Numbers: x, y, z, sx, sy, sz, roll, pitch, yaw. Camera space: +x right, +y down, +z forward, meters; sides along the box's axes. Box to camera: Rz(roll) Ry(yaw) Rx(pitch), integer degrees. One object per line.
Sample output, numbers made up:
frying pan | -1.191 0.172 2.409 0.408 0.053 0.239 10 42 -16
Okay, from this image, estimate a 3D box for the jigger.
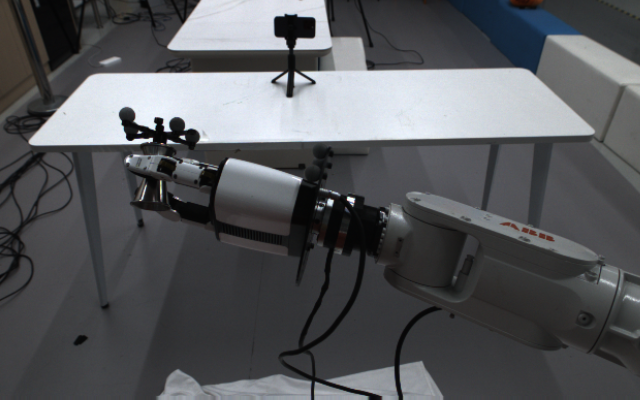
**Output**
jigger | -0.185 -0.025 0.540 0.043 0.043 0.071 3 76 1
